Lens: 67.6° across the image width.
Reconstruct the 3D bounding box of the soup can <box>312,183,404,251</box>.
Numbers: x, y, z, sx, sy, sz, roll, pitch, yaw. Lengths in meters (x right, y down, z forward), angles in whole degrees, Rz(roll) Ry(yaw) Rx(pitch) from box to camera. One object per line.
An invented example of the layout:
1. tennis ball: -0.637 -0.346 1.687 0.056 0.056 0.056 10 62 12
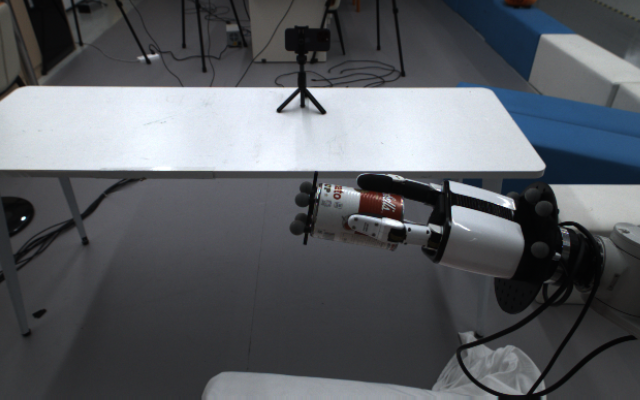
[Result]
1. soup can: 0.046 0.019 0.579 0.101 0.067 0.067 9 35 0
